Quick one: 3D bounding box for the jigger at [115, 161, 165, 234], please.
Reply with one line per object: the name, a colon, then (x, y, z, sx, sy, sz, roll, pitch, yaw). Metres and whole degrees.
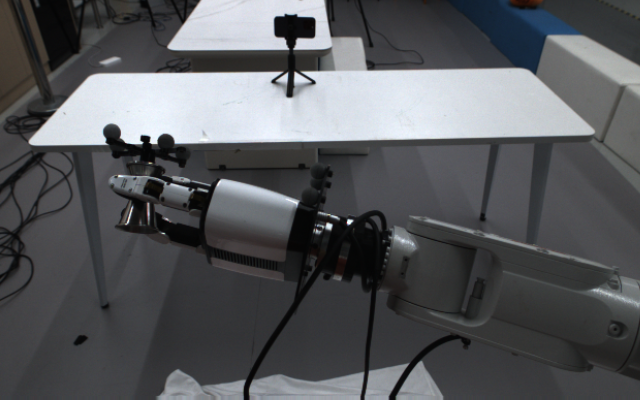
jigger: (-0.186, -0.002, 0.507, 0.043, 0.043, 0.071, 3, 76, 1)
